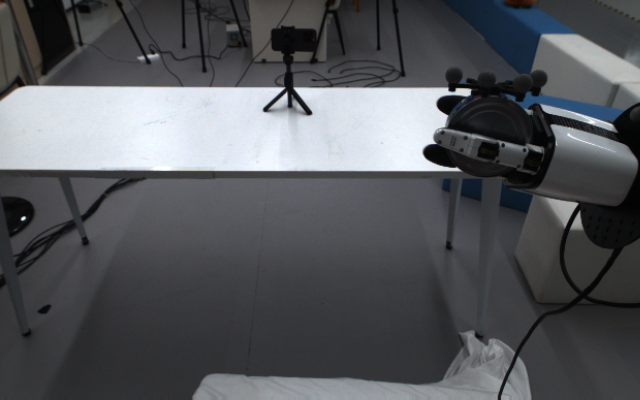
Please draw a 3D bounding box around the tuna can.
[{"bbox_3d":[0.176,-0.071,0.510,0.085,0.085,0.034,9,23,10],"label":"tuna can"}]
